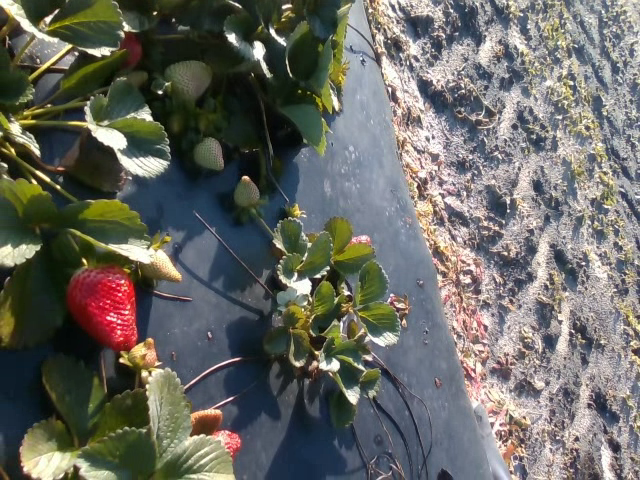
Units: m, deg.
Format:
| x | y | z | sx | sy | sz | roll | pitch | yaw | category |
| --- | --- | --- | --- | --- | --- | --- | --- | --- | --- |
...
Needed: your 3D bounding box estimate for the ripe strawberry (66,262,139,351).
| x | y | z | sx | sy | sz | roll | pitch | yaw | category |
| --- | --- | --- | --- | --- | --- | --- | --- | --- | --- |
| -0.143 | 0.048 | 0.420 | 0.056 | 0.072 | 0.055 | -31 | -16 | -5 | ripe strawberry |
